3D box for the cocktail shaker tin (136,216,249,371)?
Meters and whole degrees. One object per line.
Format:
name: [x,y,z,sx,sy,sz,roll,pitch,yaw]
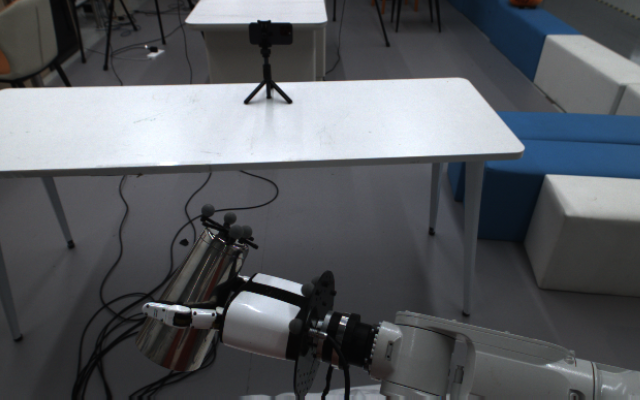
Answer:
cocktail shaker tin: [-0.158,0.123,0.636,0.093,0.170,0.093,26,2,-1]
